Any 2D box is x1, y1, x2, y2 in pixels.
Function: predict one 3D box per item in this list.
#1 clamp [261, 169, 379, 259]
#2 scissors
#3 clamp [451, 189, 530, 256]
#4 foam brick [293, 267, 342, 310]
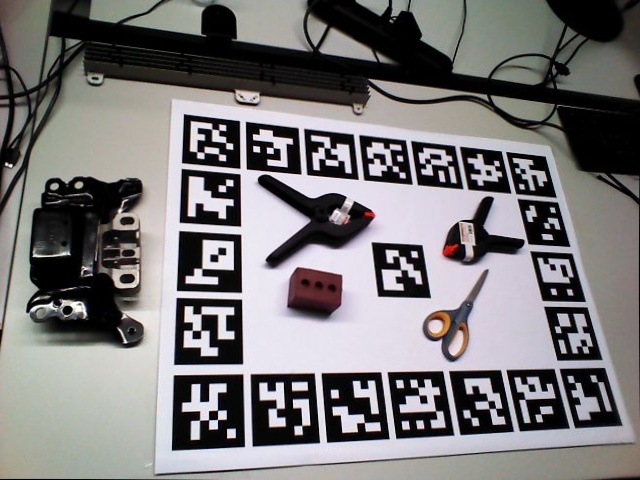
[{"bbox_3d":[0.005,-0.046,0.893,0.202,0.037,0.164,0,65,-19],"label":"clamp"},{"bbox_3d":[0.264,0.113,0.917,0.088,0.016,0.201,43,61,-6],"label":"scissors"},{"bbox_3d":[0.316,-0.019,0.985,0.164,0.037,0.121,-25,85,-24],"label":"clamp"},{"bbox_3d":[-0.002,0.077,0.833,0.078,0.051,0.052,9,67,-9],"label":"foam brick"}]
